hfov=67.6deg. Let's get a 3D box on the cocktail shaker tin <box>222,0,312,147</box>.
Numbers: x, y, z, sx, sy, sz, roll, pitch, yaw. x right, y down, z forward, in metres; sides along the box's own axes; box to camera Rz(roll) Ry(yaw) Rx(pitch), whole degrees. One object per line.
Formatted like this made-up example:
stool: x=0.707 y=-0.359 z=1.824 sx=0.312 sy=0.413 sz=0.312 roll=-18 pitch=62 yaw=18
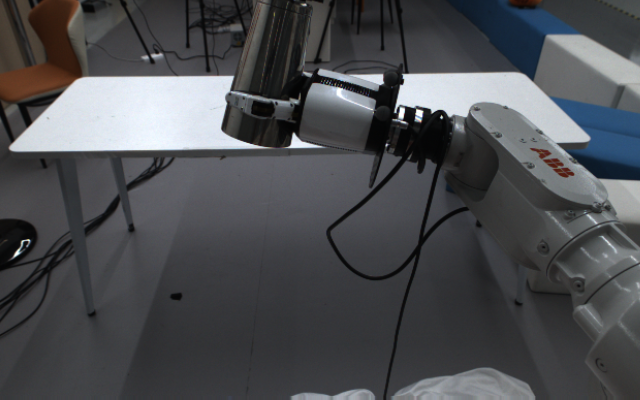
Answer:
cocktail shaker tin: x=-0.062 y=-0.162 z=0.600 sx=0.093 sy=0.170 sz=0.093 roll=14 pitch=20 yaw=-5
